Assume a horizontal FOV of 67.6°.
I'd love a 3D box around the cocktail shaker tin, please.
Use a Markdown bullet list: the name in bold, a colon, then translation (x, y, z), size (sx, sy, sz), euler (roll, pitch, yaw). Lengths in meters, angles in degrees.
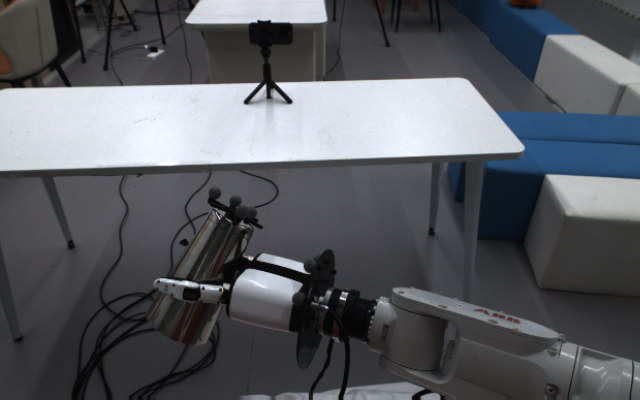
- **cocktail shaker tin**: translation (-0.158, 0.098, 0.669), size (0.093, 0.170, 0.093), euler (27, 2, -1)
